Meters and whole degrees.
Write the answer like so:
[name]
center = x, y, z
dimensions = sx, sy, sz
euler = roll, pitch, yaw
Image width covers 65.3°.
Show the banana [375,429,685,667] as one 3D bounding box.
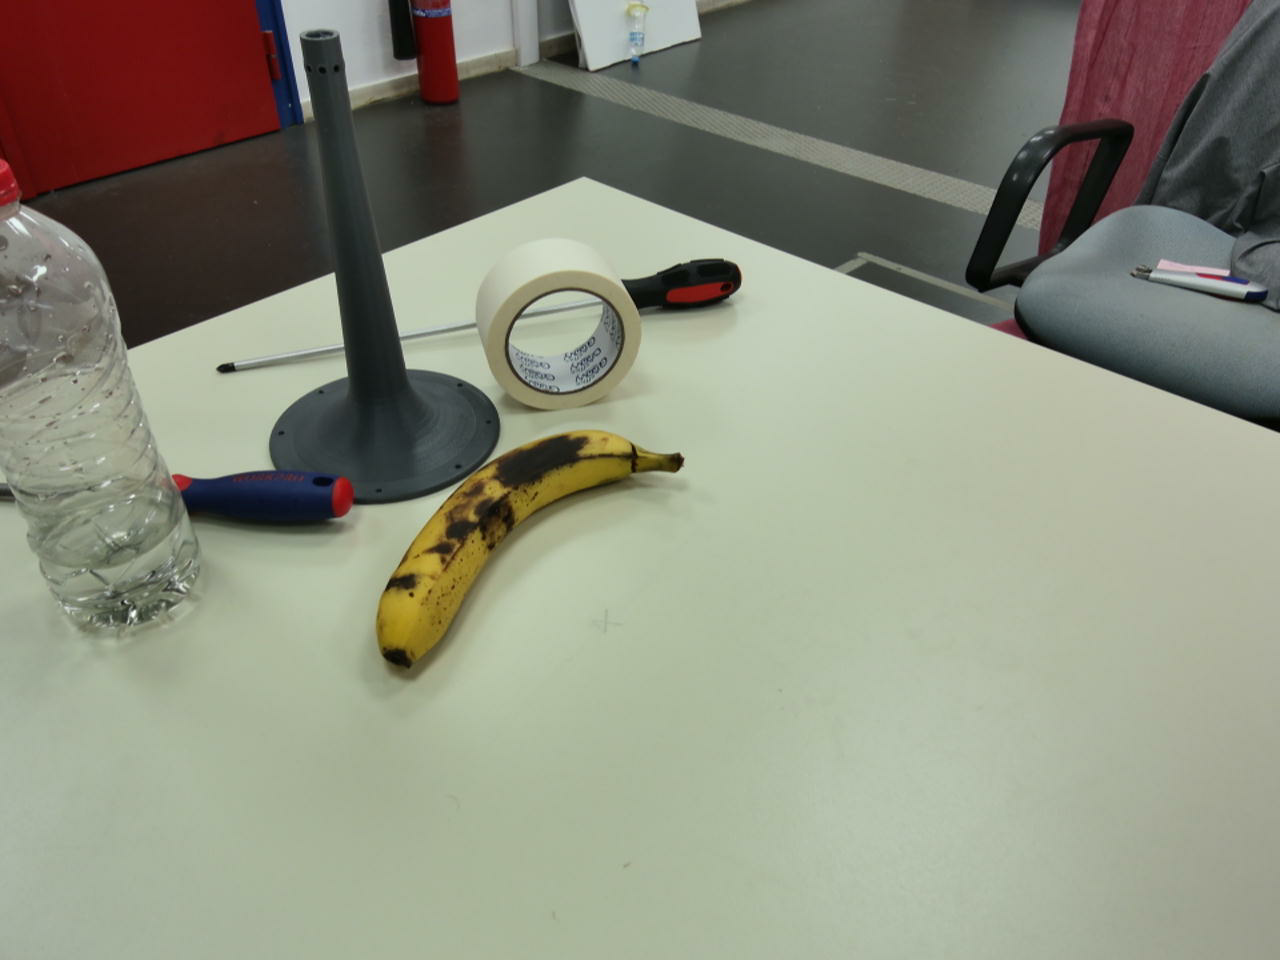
[banana]
center = -0.074, 0.021, 0.567
dimensions = 0.084, 0.037, 0.222
euler = 29, 45, 31
